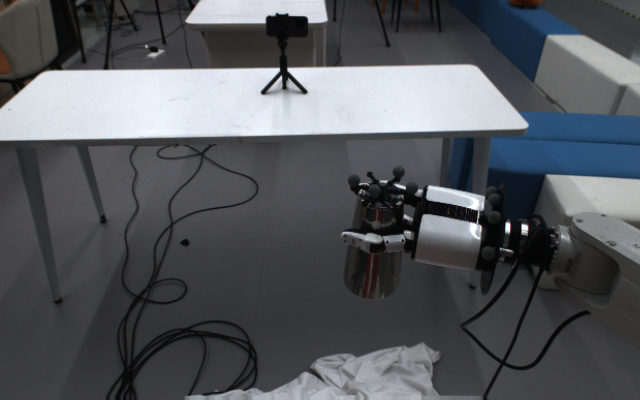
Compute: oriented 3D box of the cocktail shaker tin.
[{"bbox_3d":[0.088,0.055,0.735,0.093,0.170,0.093,1,39,-1],"label":"cocktail shaker tin"}]
